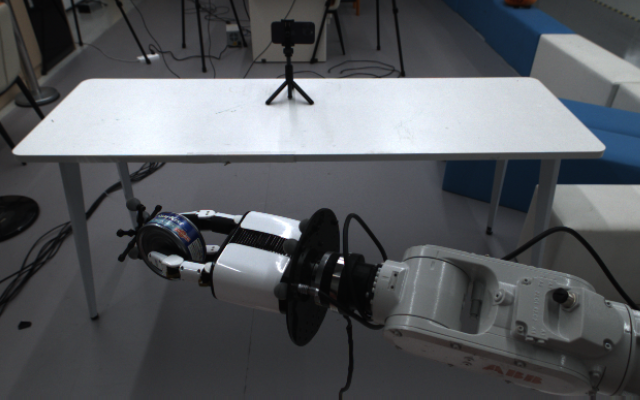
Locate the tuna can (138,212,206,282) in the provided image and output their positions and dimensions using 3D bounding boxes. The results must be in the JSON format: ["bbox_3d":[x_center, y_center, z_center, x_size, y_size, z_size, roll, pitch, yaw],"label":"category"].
[{"bbox_3d":[-0.187,0.058,0.618,0.085,0.085,0.034,13,31,16],"label":"tuna can"}]
